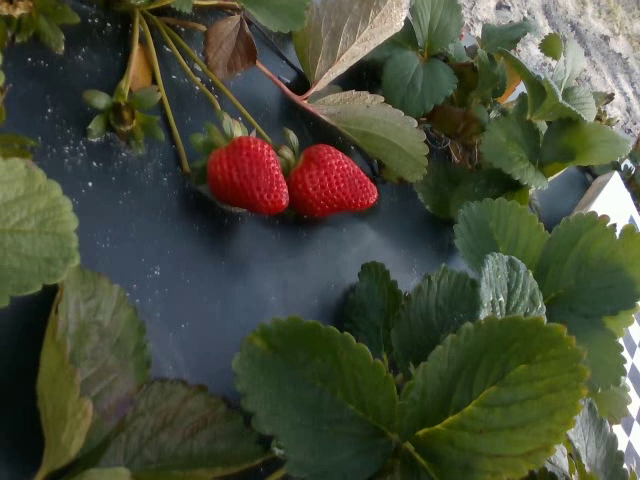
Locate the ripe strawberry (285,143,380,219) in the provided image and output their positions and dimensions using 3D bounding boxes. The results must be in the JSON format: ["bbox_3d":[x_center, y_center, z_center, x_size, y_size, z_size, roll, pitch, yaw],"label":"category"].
[{"bbox_3d":[0.011,-0.038,0.384,0.064,0.051,0.058,23,47,5],"label":"ripe strawberry"}]

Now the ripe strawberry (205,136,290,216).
[{"bbox_3d":[-0.037,-0.034,0.344,0.048,0.056,0.041,-13,-33,-47],"label":"ripe strawberry"}]
